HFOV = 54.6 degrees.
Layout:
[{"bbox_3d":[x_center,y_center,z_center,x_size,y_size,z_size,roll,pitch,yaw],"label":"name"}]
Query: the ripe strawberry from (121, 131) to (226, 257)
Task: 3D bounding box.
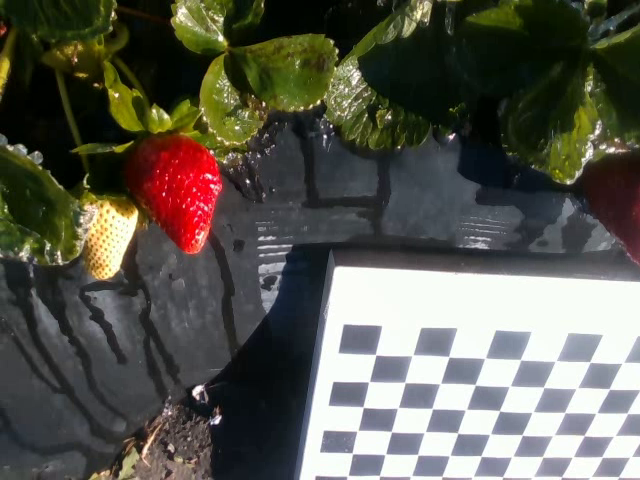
[{"bbox_3d":[-0.065,-0.017,0.290,0.042,0.061,0.046,-8,-7,0],"label":"ripe strawberry"}]
